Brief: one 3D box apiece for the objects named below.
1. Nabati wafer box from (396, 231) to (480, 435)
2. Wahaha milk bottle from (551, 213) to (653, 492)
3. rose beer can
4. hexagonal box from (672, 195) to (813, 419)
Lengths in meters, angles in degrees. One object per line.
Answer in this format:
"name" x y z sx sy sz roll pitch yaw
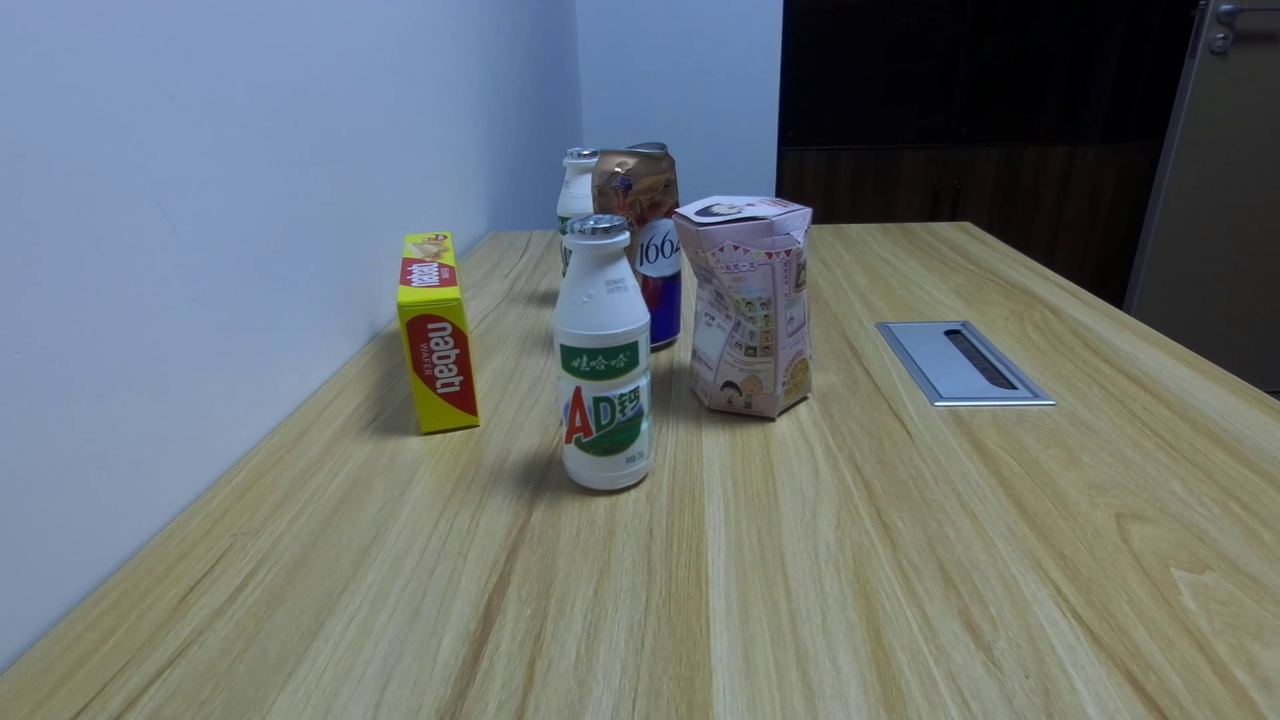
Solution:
"Nabati wafer box" -0.154 -0.032 0.541 0.042 0.093 0.202 -9 24 -13
"Wahaha milk bottle" -0.020 -0.003 0.387 0.053 0.147 0.053 -2 24 1
"rose beer can" 0.000 -0.089 0.570 0.068 0.162 0.073 -1 19 5
"hexagonal box" 0.069 -0.037 0.477 0.090 0.134 0.091 6 24 24
